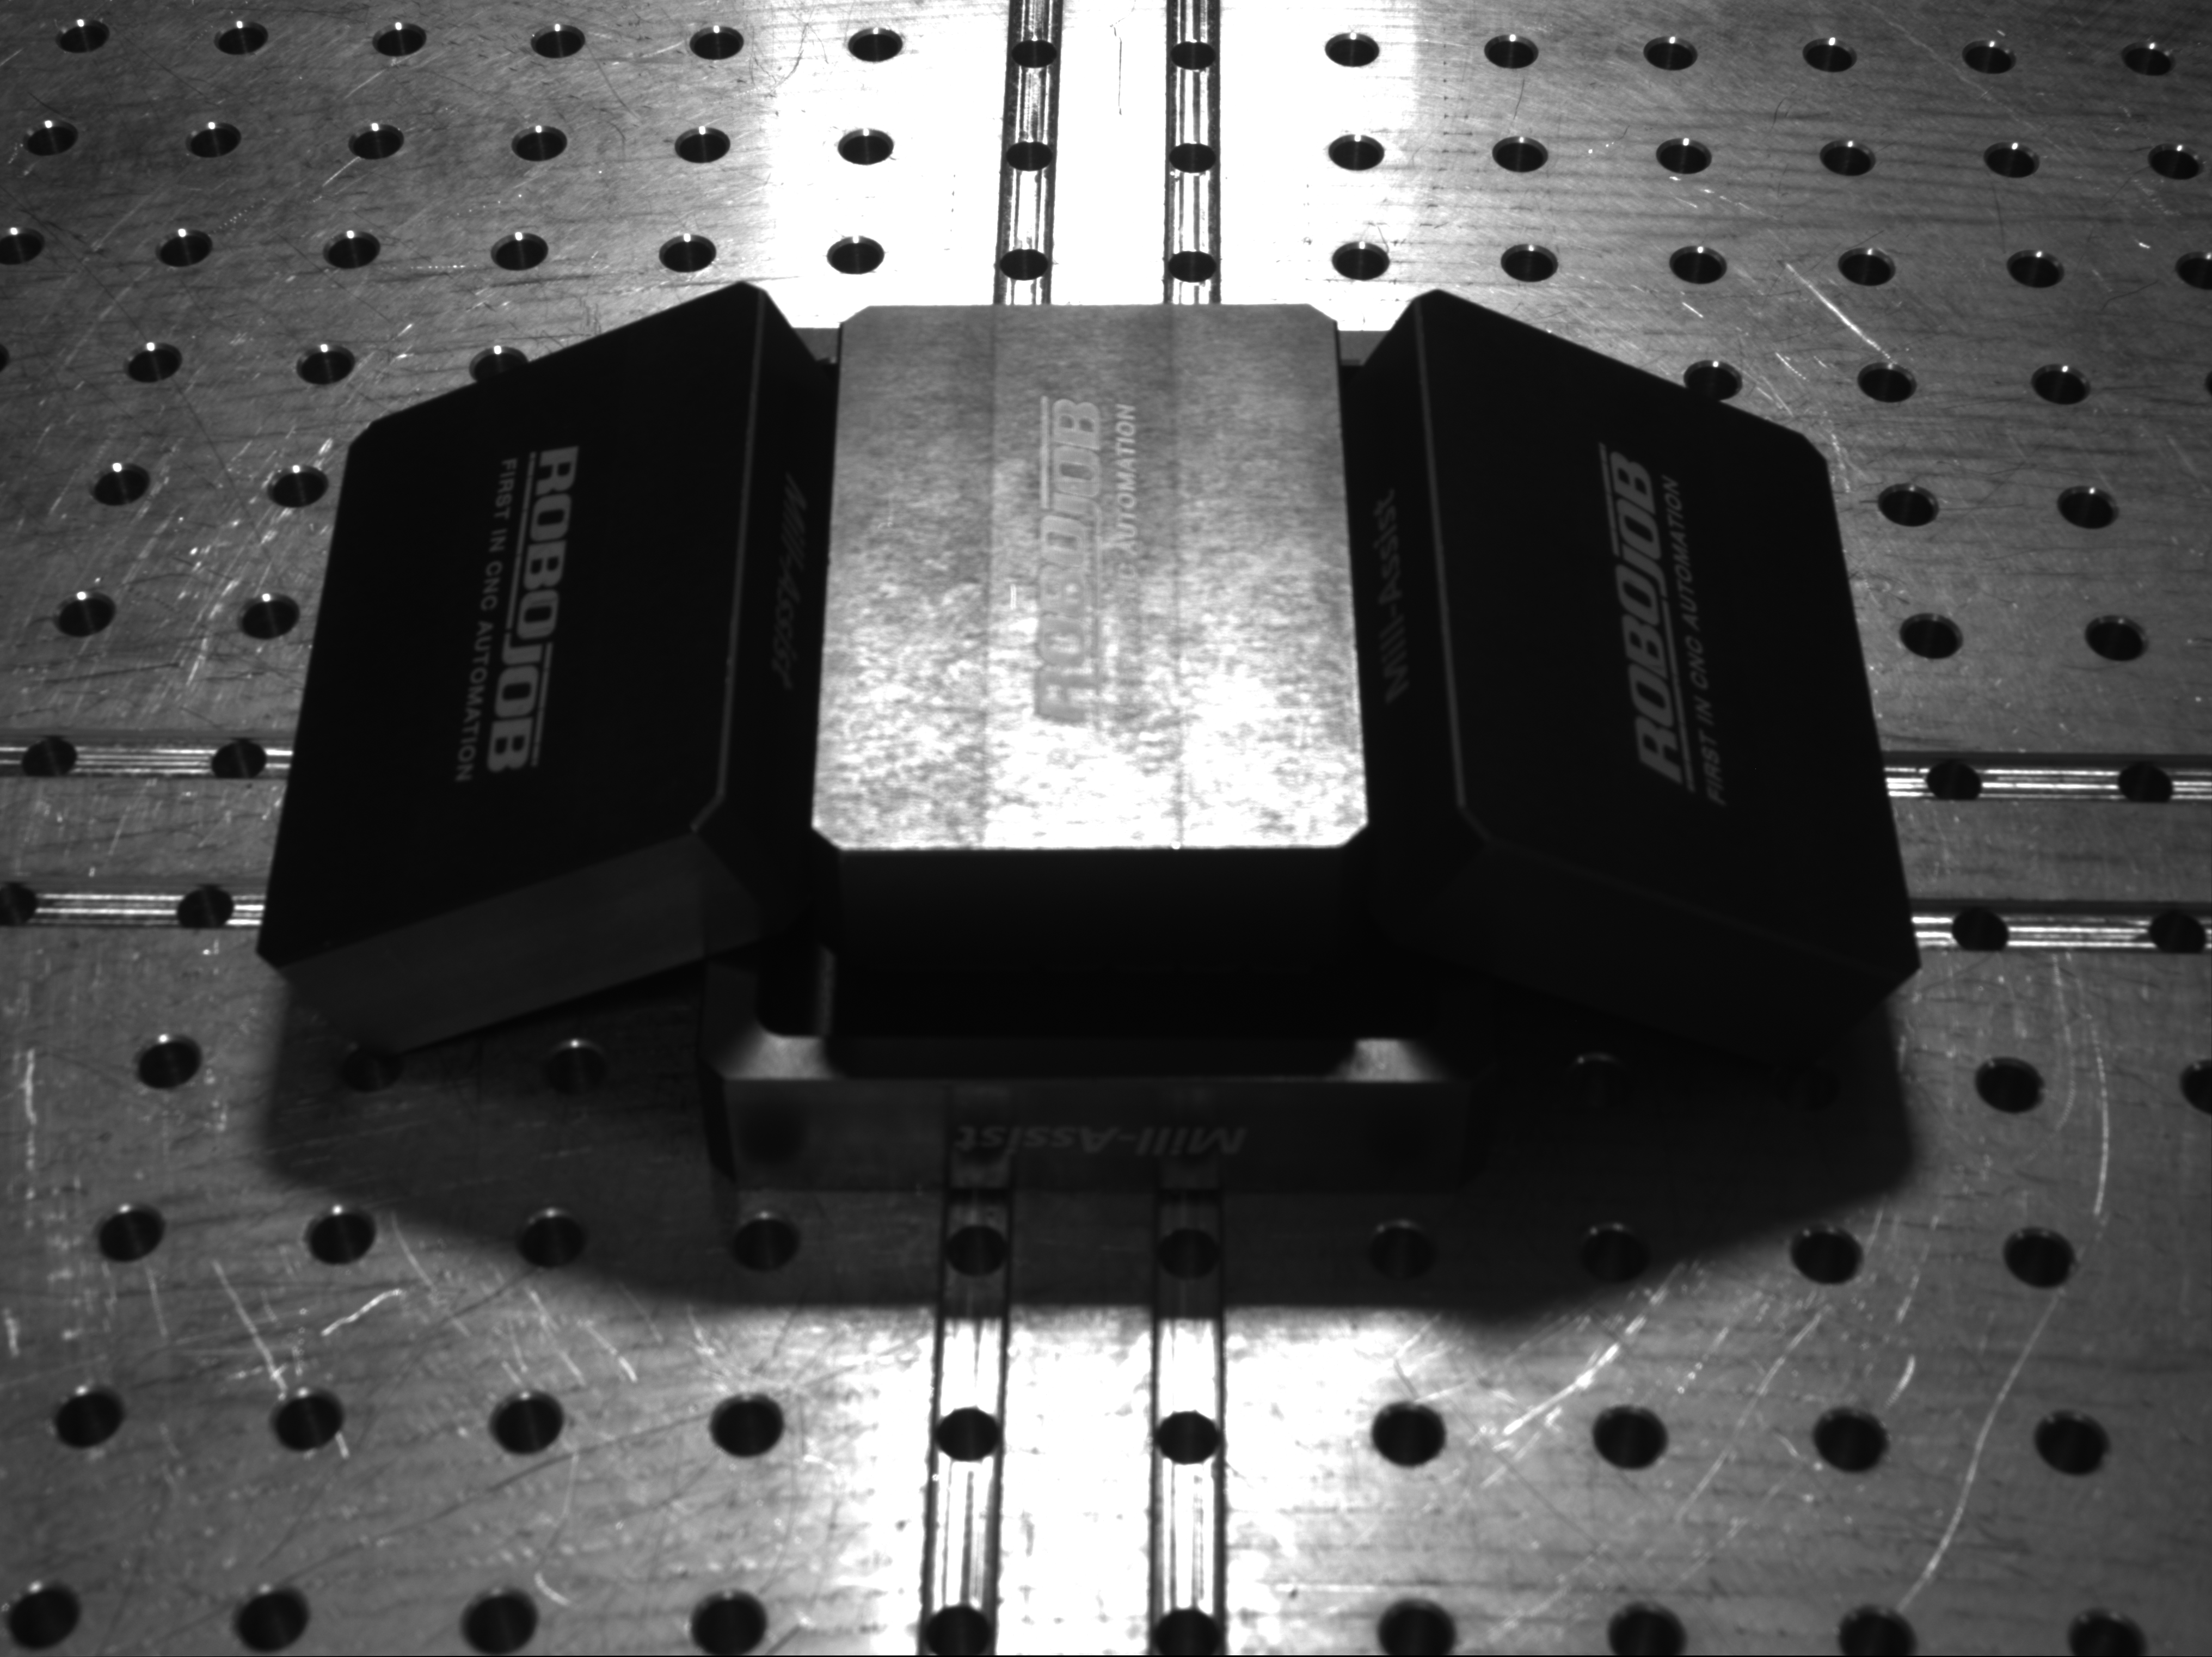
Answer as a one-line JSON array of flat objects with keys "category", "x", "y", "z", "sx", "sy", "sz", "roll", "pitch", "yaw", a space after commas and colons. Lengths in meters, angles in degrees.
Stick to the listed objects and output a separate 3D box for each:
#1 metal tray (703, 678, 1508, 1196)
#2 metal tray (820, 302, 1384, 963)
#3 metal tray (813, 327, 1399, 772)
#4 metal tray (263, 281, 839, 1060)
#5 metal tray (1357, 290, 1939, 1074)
[{"category": "metal tray", "x": 0.000, "y": 0.017, "z": 0.628, "sx": 0.130, "sy": 0.030, "sz": 0.090, "roll": 0, "pitch": 50, "yaw": 0}, {"category": "metal tray", "x": -0.001, "y": -0.037, "z": 0.633, "sx": 0.090, "sy": 0.030, "sz": 0.130, "roll": 0, "pitch": 50, "yaw": 0}, {"category": "metal tray", "x": 0.000, "y": -0.053, "z": 0.686, "sx": 0.130, "sy": 0.030, "sz": 0.090, "roll": 0, "pitch": 50, "yaw": 0}, {"category": "metal tray", "x": -0.094, "y": -0.030, "z": 0.643, "sx": 0.090, "sy": 0.030, "sz": 0.130, "roll": -18, "pitch": 47, "yaw": 20}, {"category": "metal tray", "x": 0.092, "y": -0.028, "z": 0.640, "sx": 0.090, "sy": 0.030, "sz": 0.130, "roll": 18, "pitch": 46, "yaw": -21}]
